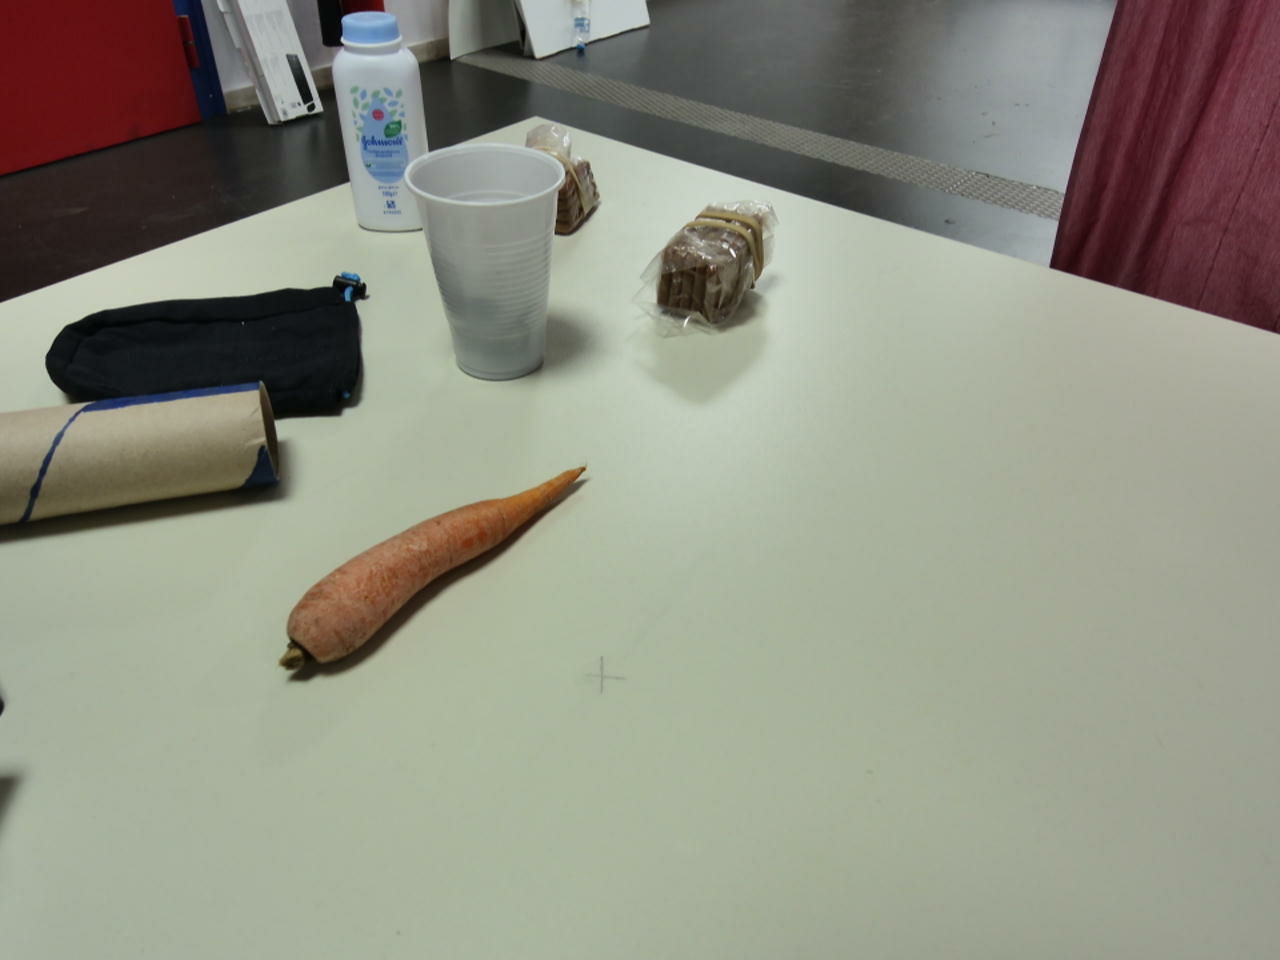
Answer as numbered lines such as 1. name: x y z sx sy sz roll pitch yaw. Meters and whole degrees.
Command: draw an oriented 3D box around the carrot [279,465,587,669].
1. carrot: -0.081 0.026 0.417 0.031 0.029 0.163 25 43 30
